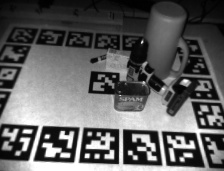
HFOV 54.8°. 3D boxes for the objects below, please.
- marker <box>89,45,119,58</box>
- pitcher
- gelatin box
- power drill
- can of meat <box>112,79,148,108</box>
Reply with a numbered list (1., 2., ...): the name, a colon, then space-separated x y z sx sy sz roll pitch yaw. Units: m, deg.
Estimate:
1. marker: -0.029 -0.129 0.813 0.122 0.020 0.019 -19 56 -19
2. pitcher: 0.173 -0.144 0.715 0.187 0.244 0.134 25 57 23
3. gelatin box: 0.025 -0.099 0.764 0.089 0.073 0.030 12 55 2
4. power drill: 0.122 -0.051 0.665 0.186 0.185 0.057 34 59 14
5. can of meat: 0.051 0.024 0.657 0.102 0.084 0.057 2 49 -4
